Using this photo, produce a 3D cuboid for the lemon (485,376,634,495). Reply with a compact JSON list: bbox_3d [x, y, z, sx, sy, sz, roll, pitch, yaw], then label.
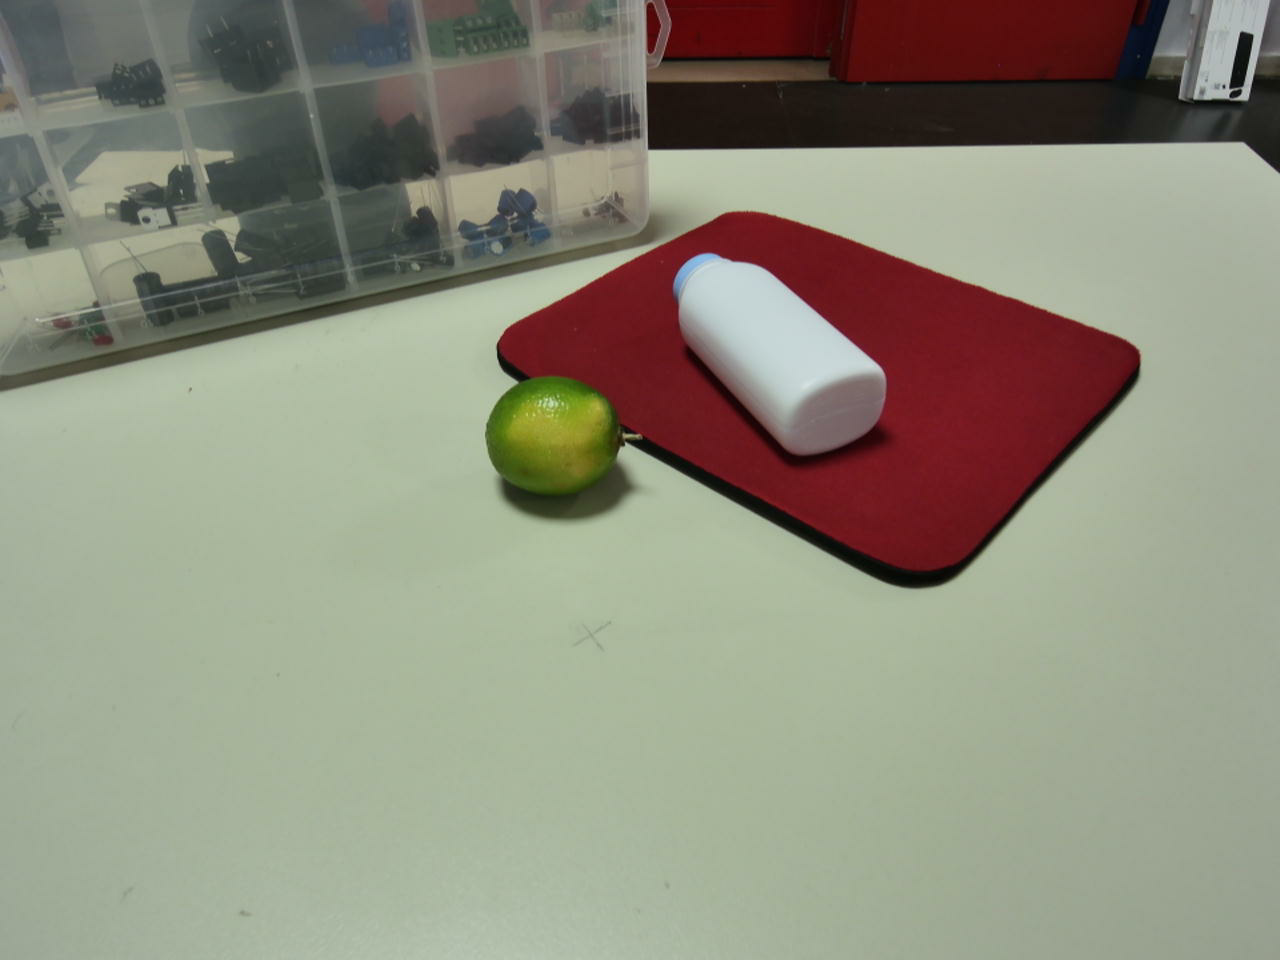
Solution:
[{"bbox_3d":[-0.037,-0.019,0.426,0.054,0.050,0.055,-28,46,-30],"label":"lemon"}]
